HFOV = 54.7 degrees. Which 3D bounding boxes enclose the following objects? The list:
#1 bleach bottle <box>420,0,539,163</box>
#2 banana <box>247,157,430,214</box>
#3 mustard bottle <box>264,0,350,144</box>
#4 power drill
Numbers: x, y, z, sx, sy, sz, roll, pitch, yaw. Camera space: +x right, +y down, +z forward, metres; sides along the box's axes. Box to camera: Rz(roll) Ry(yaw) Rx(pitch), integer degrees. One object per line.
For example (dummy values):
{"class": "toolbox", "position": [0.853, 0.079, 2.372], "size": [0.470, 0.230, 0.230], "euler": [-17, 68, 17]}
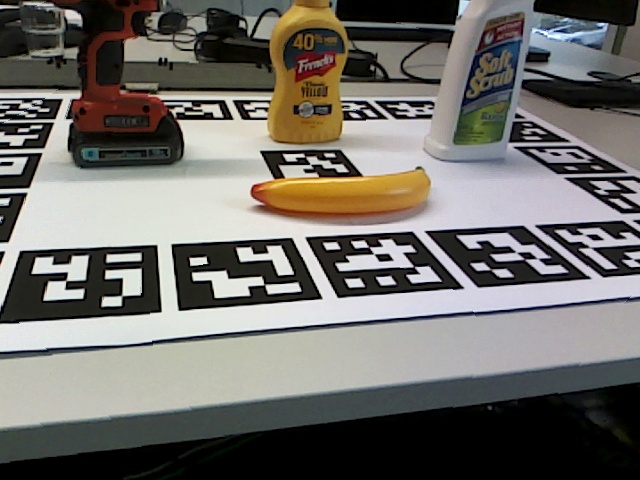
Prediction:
{"class": "bleach bottle", "position": [0.190, -0.219, 0.729], "size": [0.102, 0.250, 0.068], "euler": [2, 29, -8]}
{"class": "banana", "position": [0.029, -0.053, 0.603], "size": [0.196, 0.039, 0.075], "euler": [-8, 34, -17]}
{"class": "mustard bottle", "position": [-0.013, -0.215, 0.752], "size": [0.096, 0.191, 0.059], "euler": [-5, 31, -22]}
{"class": "power drill", "position": [-0.181, -0.211, 0.651], "size": [0.184, 0.186, 0.058], "euler": [-9, 32, -17]}
